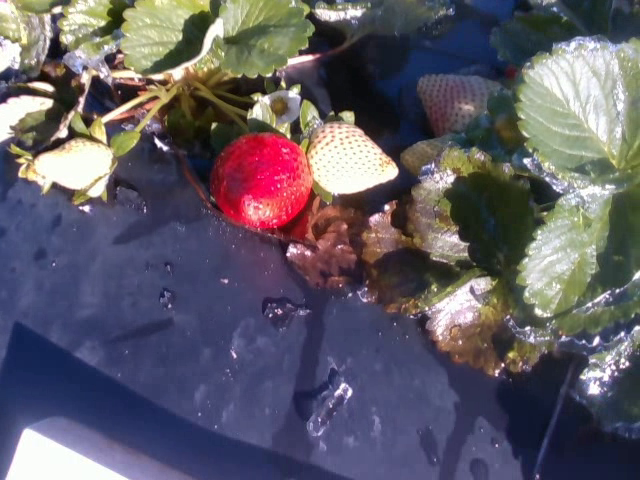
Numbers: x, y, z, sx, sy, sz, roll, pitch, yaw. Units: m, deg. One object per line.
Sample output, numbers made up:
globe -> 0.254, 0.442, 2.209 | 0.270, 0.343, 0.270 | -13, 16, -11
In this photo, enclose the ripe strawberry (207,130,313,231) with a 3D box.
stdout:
ripe strawberry -> -0.021, -0.017, 0.218 | 0.040, 0.042, 0.053 | -15, 21, 7
